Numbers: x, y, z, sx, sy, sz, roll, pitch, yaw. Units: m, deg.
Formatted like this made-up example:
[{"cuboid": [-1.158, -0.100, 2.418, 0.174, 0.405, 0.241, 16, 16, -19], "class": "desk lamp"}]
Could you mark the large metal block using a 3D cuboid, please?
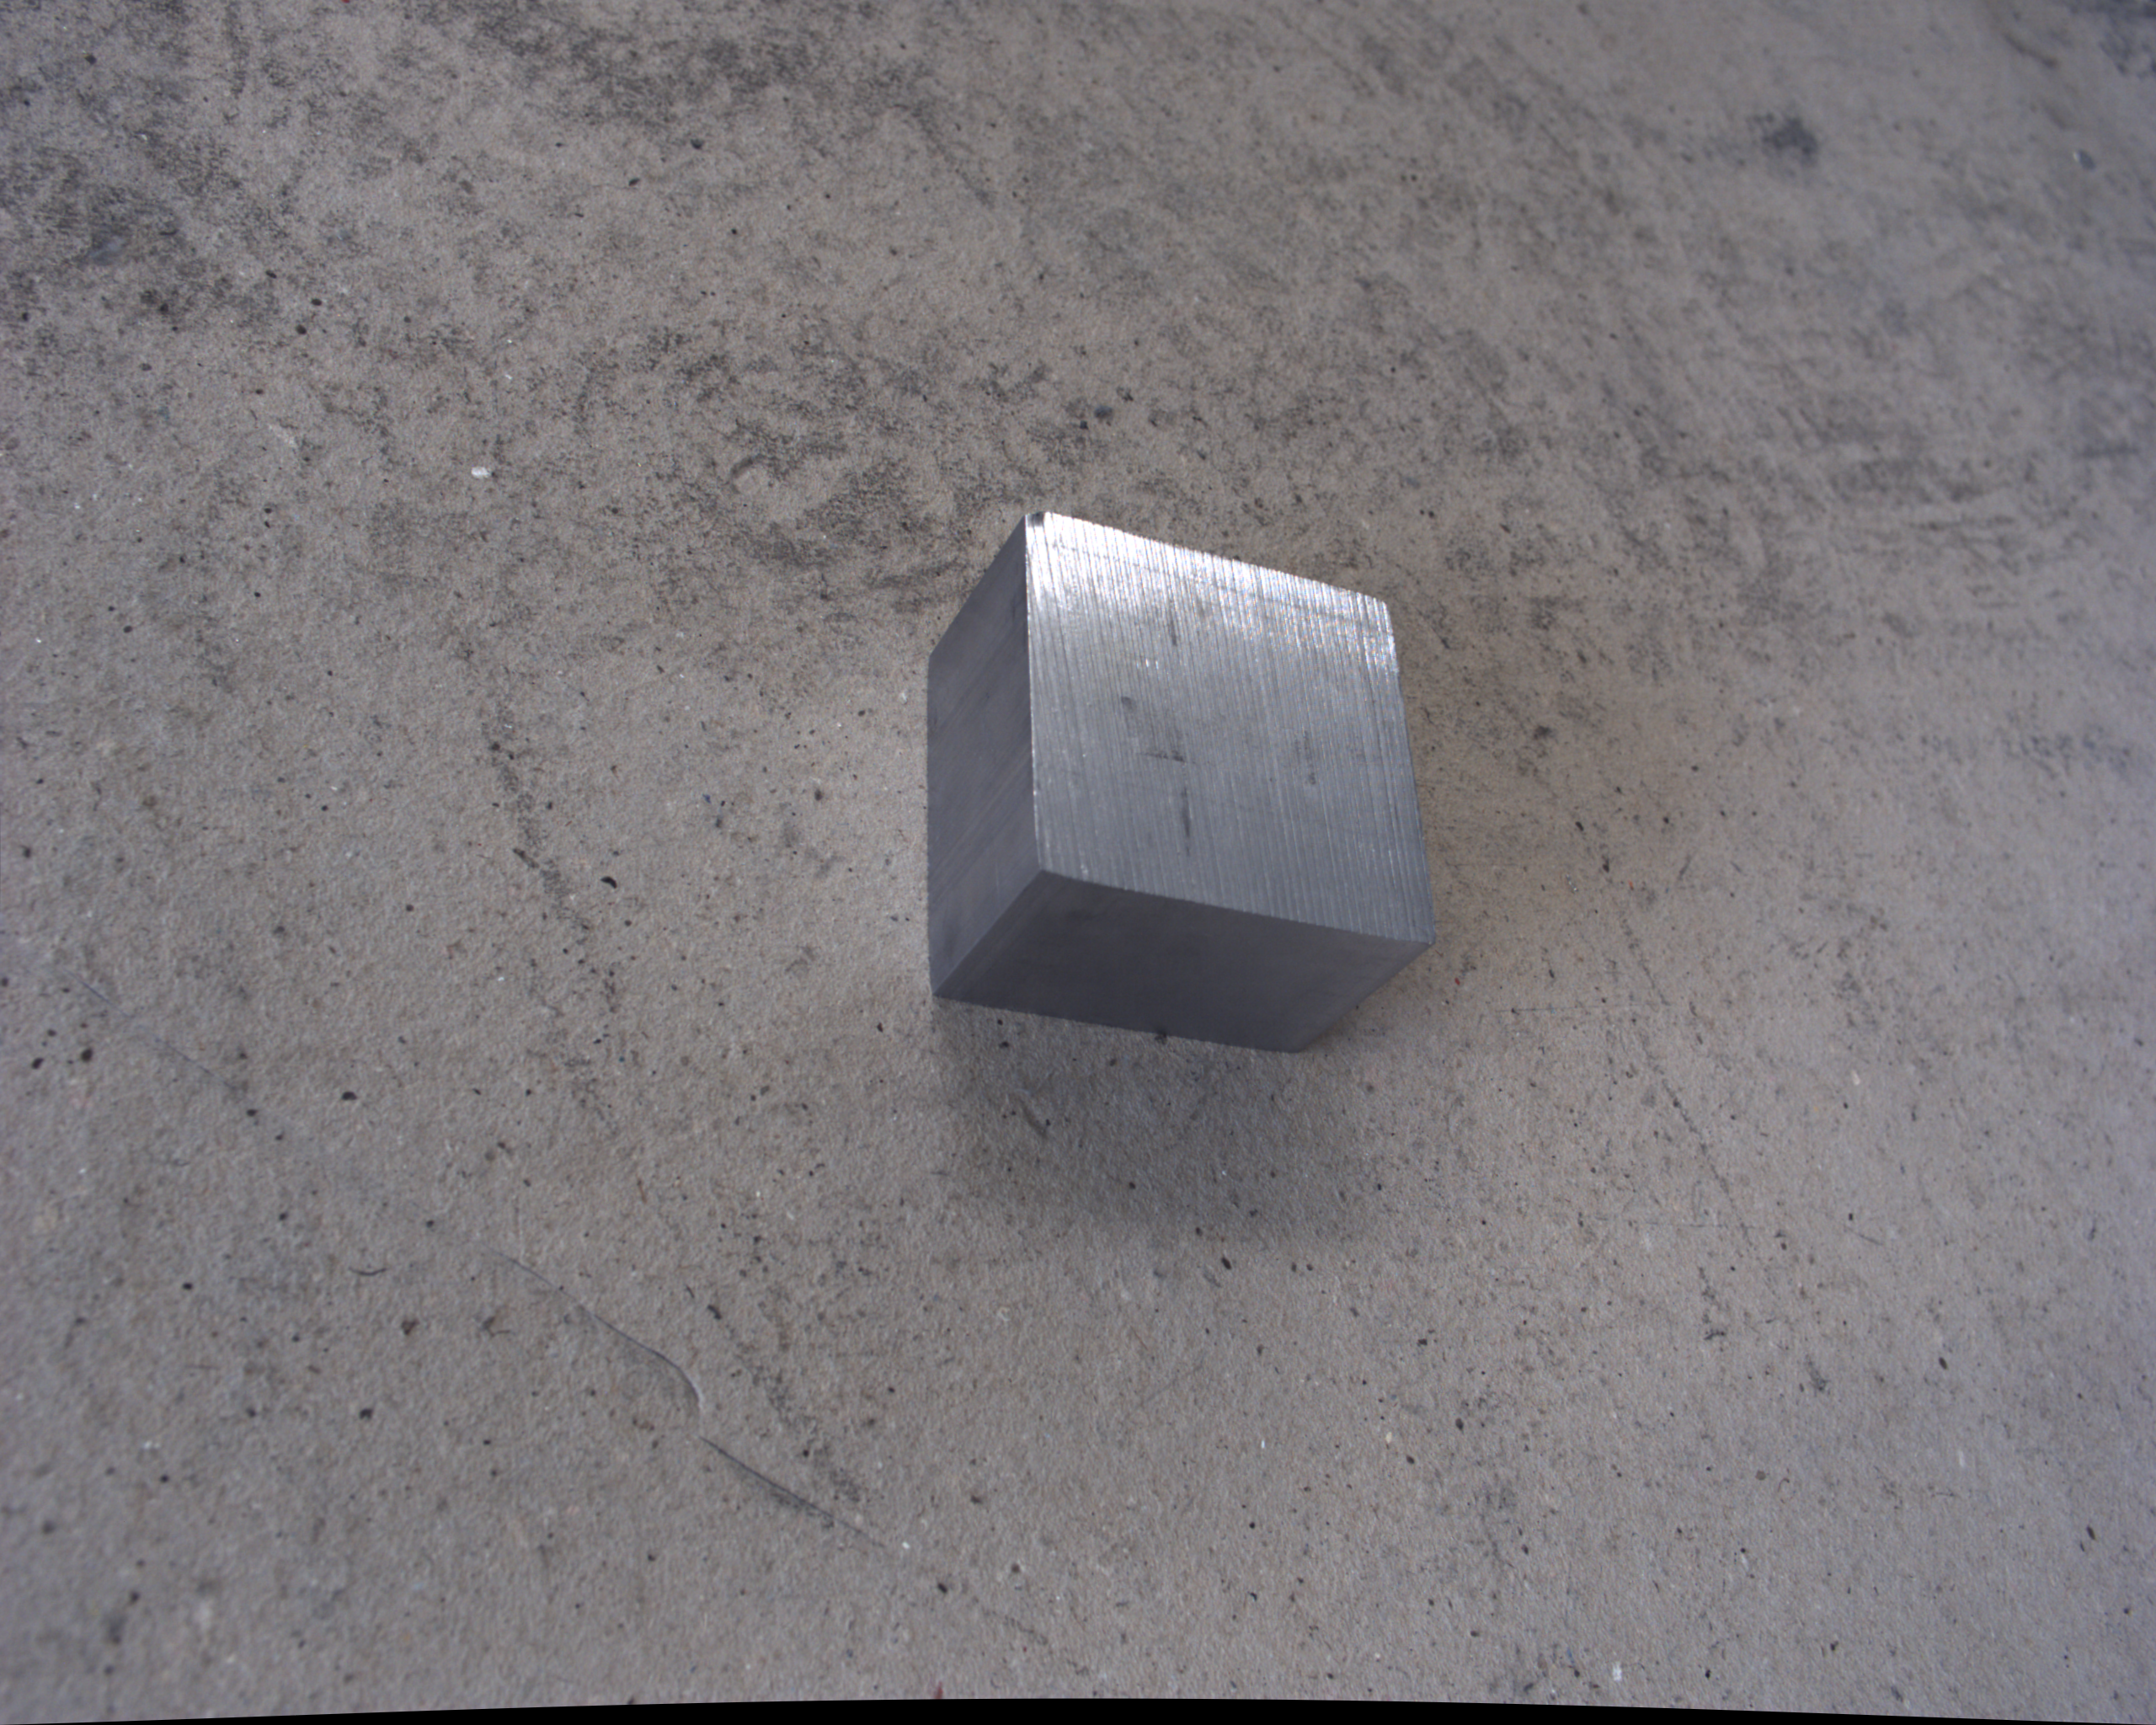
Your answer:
[{"cuboid": [0.017, -0.014, 0.407, 0.081, 0.050, 0.080, 11, 57, -23], "class": "large metal block"}]
